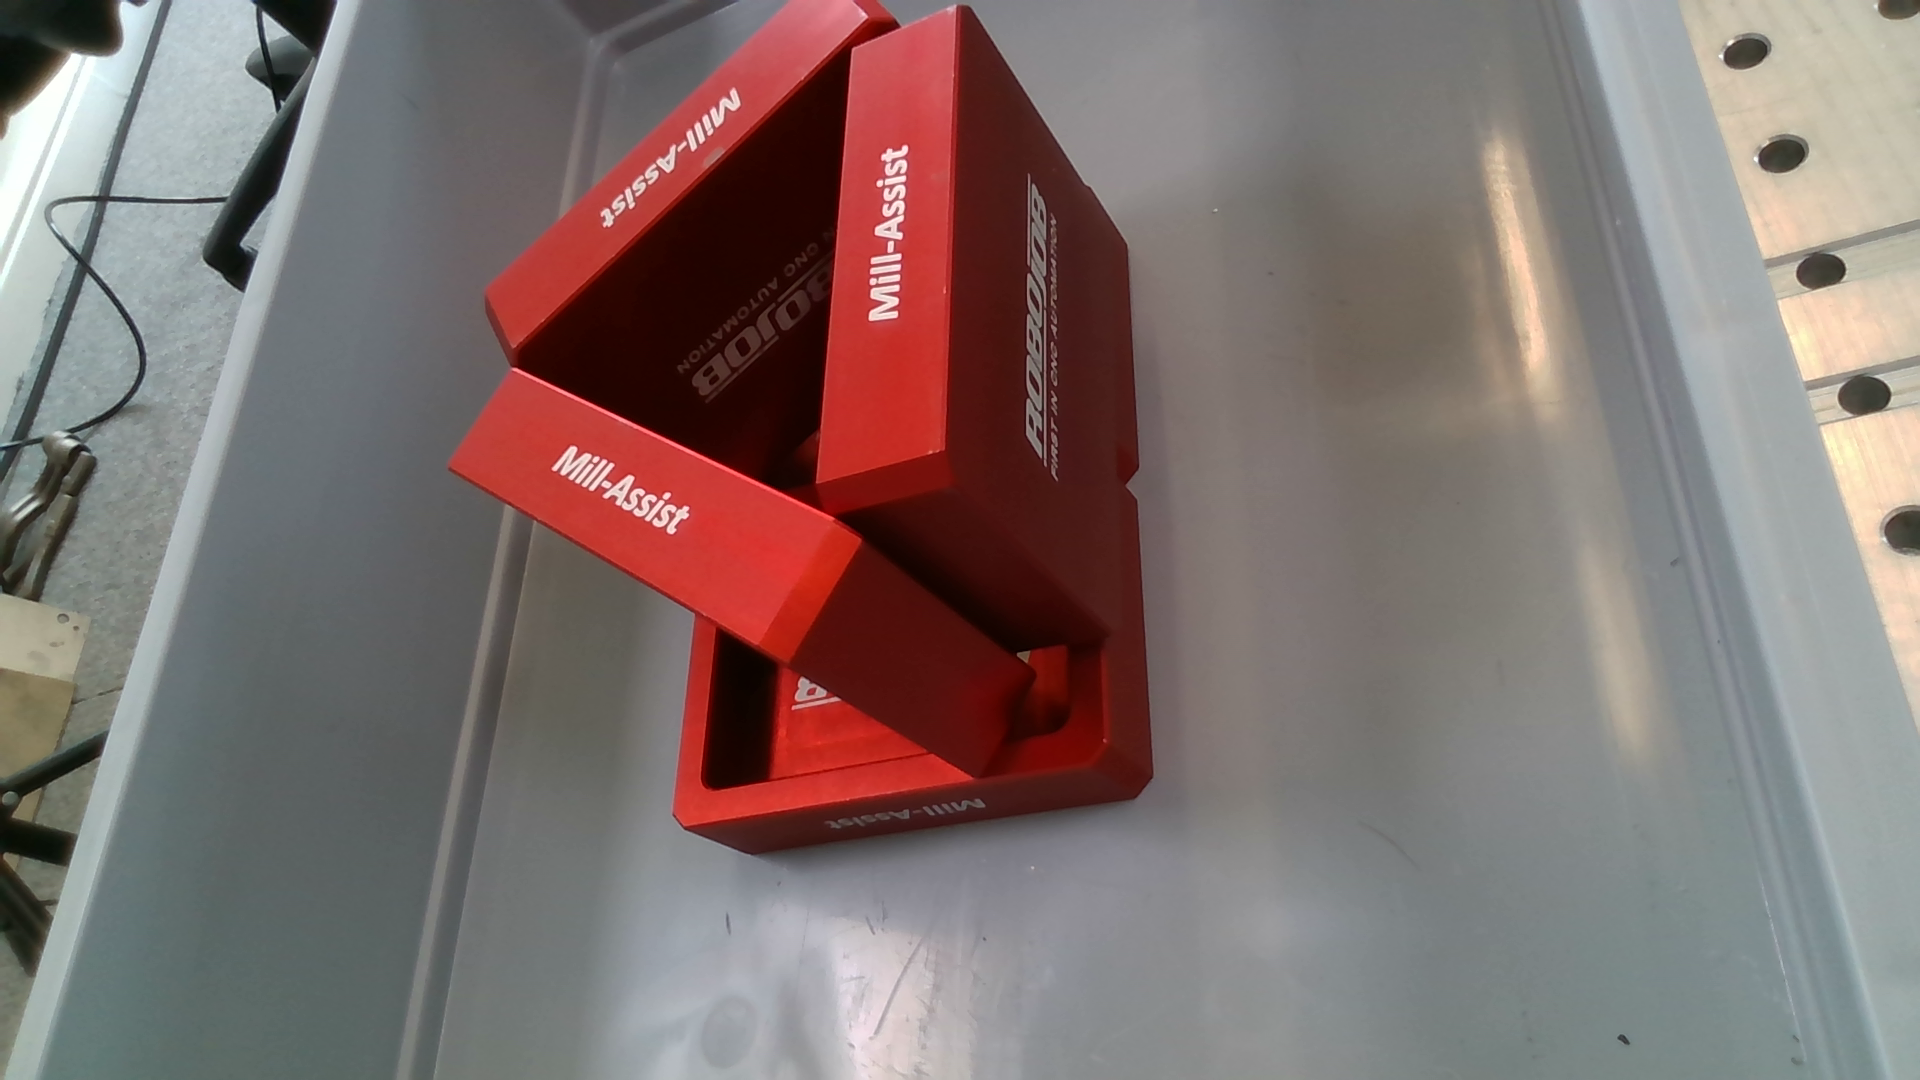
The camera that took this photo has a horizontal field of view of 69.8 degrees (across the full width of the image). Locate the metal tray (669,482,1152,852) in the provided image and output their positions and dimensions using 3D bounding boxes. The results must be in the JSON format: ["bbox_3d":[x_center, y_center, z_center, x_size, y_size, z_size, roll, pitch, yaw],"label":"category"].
[{"bbox_3d":[-0.015,0.033,0.381,0.130,0.030,0.090,-13,59,25],"label":"metal tray"}]

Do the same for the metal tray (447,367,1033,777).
[{"bbox_3d":[-0.055,0.007,0.340,0.130,0.090,0.030,24,79,38],"label":"metal tray"}]

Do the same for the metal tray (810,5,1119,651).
[{"bbox_3d":[0.006,-0.049,0.332,0.030,0.090,0.130,-13,59,26],"label":"metal tray"}]

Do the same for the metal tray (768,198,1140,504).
[{"bbox_3d":[-0.013,-0.048,0.423,0.130,0.030,0.090,-14,59,24],"label":"metal tray"}]

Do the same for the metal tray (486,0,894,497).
[{"bbox_3d":[-0.053,-0.078,0.384,0.130,0.090,0.030,-41,51,7],"label":"metal tray"}]
